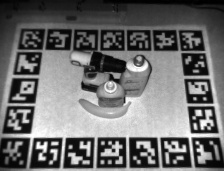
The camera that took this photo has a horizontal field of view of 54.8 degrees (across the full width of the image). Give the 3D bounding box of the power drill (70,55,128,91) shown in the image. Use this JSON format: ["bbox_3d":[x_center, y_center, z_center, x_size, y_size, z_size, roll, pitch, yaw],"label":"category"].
[{"bbox_3d":[-0.038,-0.033,0.722,0.184,0.187,0.057,11,71,2],"label":"power drill"}]

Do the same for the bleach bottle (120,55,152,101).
[{"bbox_3d":[0.072,-0.023,0.716,0.102,0.252,0.067,2,66,1],"label":"bleach bottle"}]

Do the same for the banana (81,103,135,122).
[{"bbox_3d":[-0.017,0.096,0.791,0.197,0.039,0.074,4,73,3],"label":"banana"}]

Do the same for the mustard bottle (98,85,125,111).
[{"bbox_3d":[0.002,0.040,0.719,0.096,0.192,0.058,0,71,0],"label":"mustard bottle"}]
